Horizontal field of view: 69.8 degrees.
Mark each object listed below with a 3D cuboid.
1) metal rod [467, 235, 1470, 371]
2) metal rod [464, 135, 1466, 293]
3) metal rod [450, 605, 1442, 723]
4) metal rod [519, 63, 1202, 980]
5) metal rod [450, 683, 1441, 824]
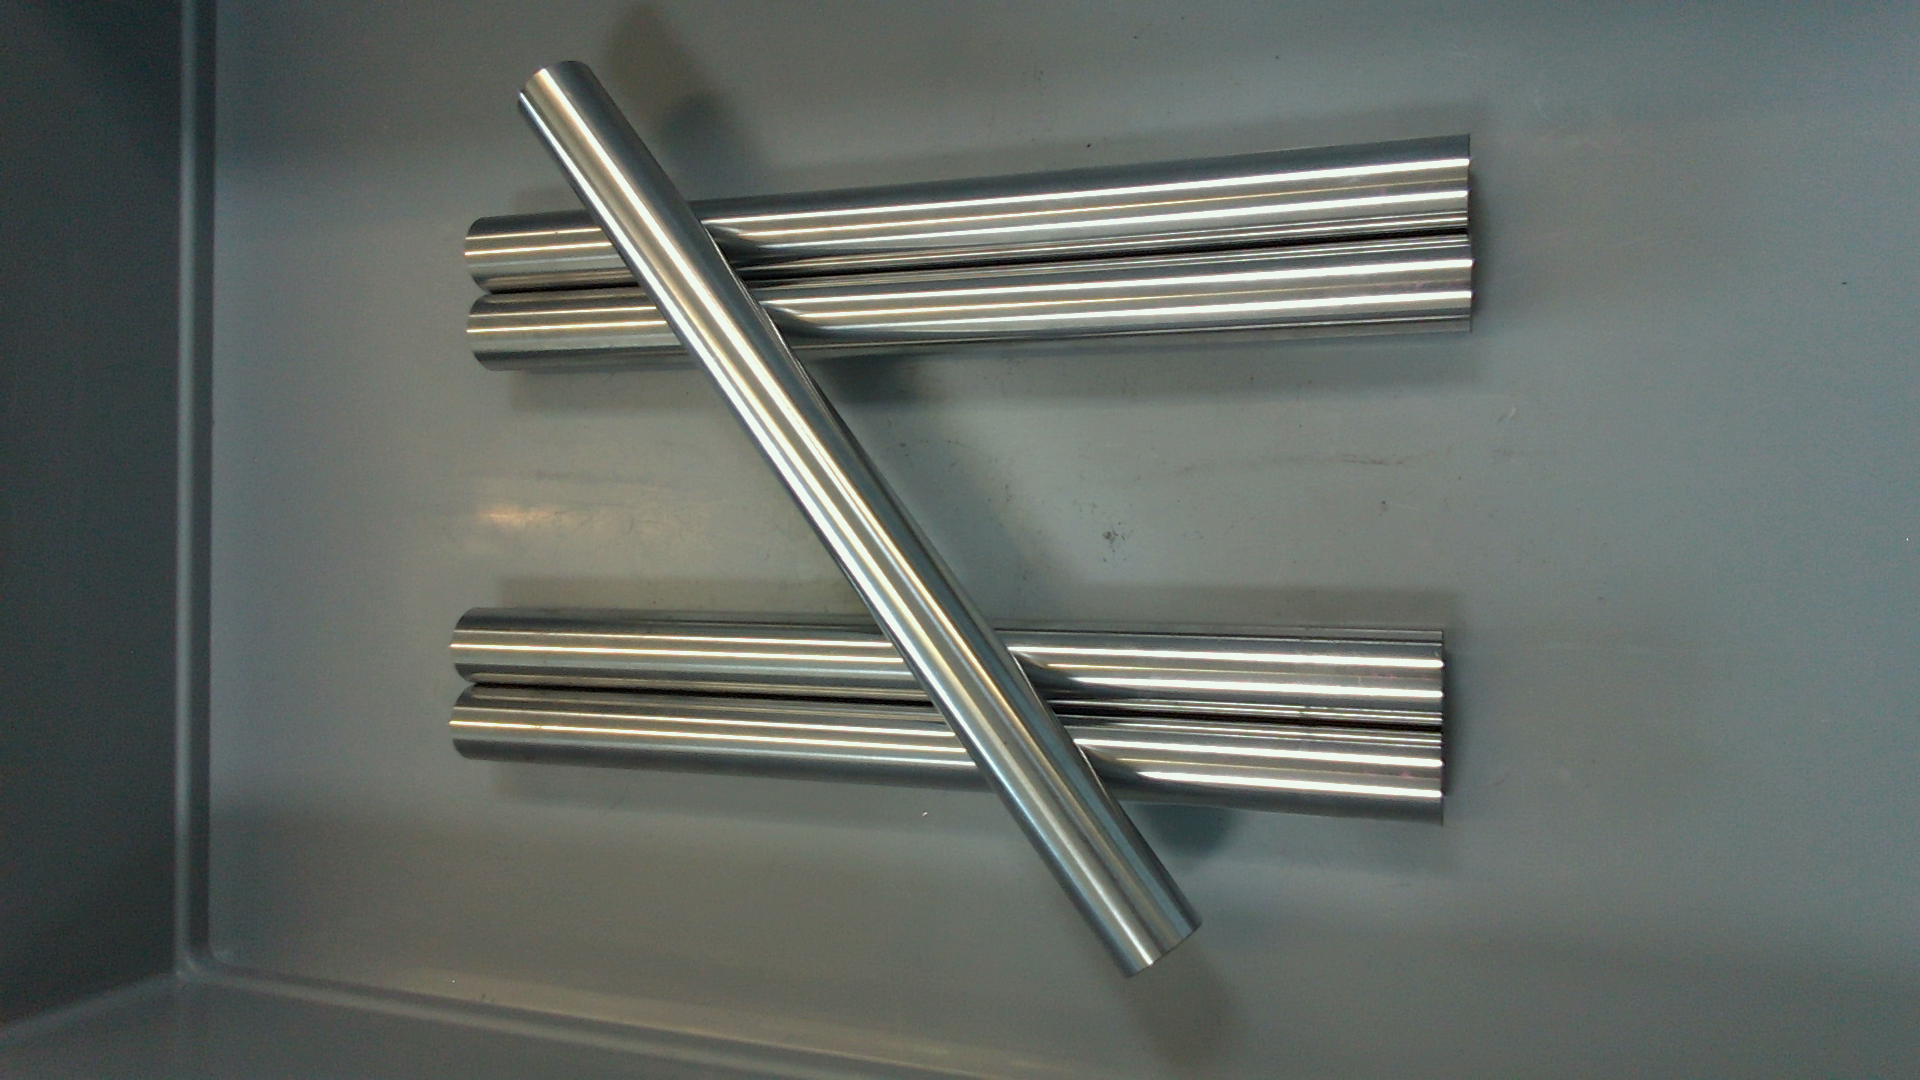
[{"bbox_3d":[-0.012,-0.066,0.398,0.299,0.025,0.025,1,90,20],"label":"metal rod"},{"bbox_3d":[-0.013,-0.091,0.399,0.299,0.025,0.025,1,90,20],"label":"metal rod"},{"bbox_3d":[-0.018,0.034,0.401,0.299,0.025,0.025,0,90,20],"label":"metal rod"},{"bbox_3d":[-0.035,-0.014,0.381,0.025,0.025,0.300,-39,78,16],"label":"metal rod"},{"bbox_3d":[-0.018,0.059,0.401,0.299,0.025,0.025,0,90,20],"label":"metal rod"}]
